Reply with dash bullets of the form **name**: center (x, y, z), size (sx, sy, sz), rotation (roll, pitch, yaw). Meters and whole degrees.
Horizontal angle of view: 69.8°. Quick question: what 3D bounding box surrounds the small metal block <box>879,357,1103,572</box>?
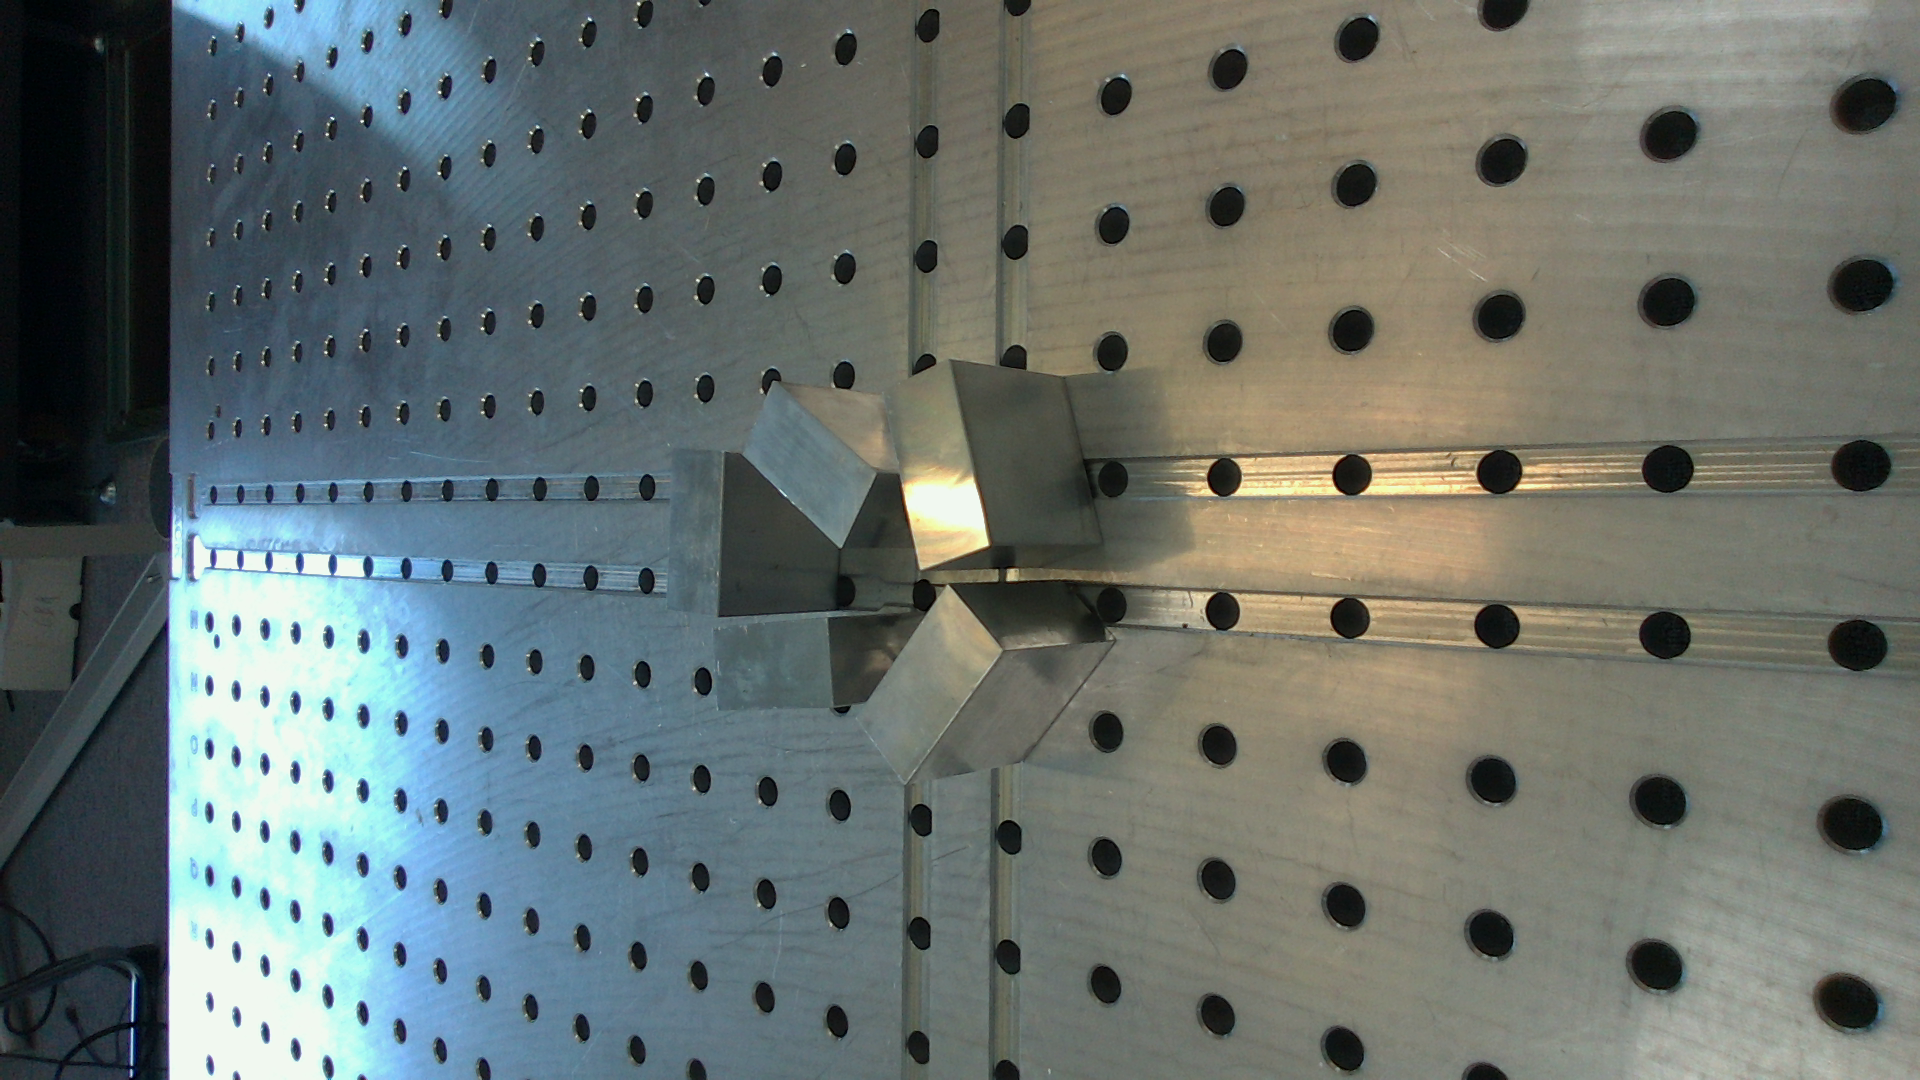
- **small metal block**: center (0.009, -0.019, 0.373), size (0.025, 0.050, 0.050), rotation (-21, 76, 38)

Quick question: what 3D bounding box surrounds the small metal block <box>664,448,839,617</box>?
- **small metal block**: center (-0.065, -0.003, 0.436), size (0.025, 0.050, 0.050), rotation (4, 93, 40)

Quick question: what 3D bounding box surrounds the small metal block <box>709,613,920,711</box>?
- **small metal block**: center (-0.039, 0.036, 0.414), size (0.050, 0.050, 0.025), rotation (-7, 86, 40)

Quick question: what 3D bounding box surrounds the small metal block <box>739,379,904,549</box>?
- **small metal block**: center (-0.027, -0.022, 0.404), size (0.050, 0.050, 0.025), rotation (41, 116, 32)

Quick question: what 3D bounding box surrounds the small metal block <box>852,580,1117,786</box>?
- **small metal block**: center (0.007, 0.038, 0.375), size (0.025, 0.050, 0.050), rotation (50, 120, 29)
